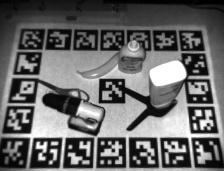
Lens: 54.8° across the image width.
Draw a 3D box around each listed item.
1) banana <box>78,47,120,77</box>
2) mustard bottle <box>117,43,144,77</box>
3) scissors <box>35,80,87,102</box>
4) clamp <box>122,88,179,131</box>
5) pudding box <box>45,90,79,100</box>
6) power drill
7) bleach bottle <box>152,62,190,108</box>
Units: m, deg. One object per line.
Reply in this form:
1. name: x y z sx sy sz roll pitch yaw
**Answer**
1. banana: -0.037 -0.084 0.844 0.198 0.039 0.073 -38 58 -13
2. mustard bottle: 0.070 -0.095 0.780 0.096 0.192 0.058 12 70 4
3. scissors: -0.180 0.024 0.713 0.202 0.016 0.088 24 76 3
4. clamp: 0.145 0.071 0.783 0.203 0.037 0.165 -6 73 -5
5. pudding box: -0.171 0.053 0.771 0.114 0.090 0.038 3 63 0
6. power drill: -0.112 0.105 0.672 0.184 0.188 0.057 11 63 7
7. bleach bottle: 0.178 0.019 0.691 0.102 0.252 0.067 -21 67 1
